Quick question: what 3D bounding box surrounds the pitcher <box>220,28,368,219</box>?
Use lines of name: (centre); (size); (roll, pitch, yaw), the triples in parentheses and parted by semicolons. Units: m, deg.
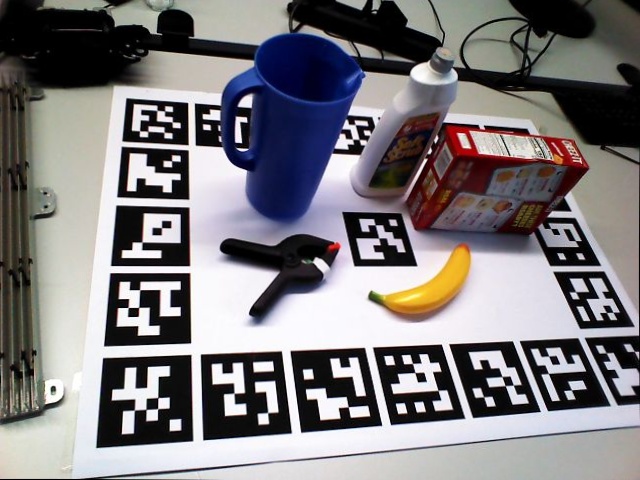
pitcher: (-0.046, -0.139, 0.688); (0.188, 0.244, 0.133); (-16, 58, -28)

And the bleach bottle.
bleach bottle: (0.124, -0.161, 0.775); (0.102, 0.252, 0.067); (-1, 52, -15)

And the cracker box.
cracker box: (0.280, -0.086, 0.793); (0.213, 0.165, 0.071); (0, 50, -13)

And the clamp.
clamp: (-0.039, 0.041, 0.711); (0.164, 0.037, 0.121); (-14, 56, -26)

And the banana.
banana: (0.176, 0.063, 0.761); (0.196, 0.039, 0.074); (-33, 66, -33)
